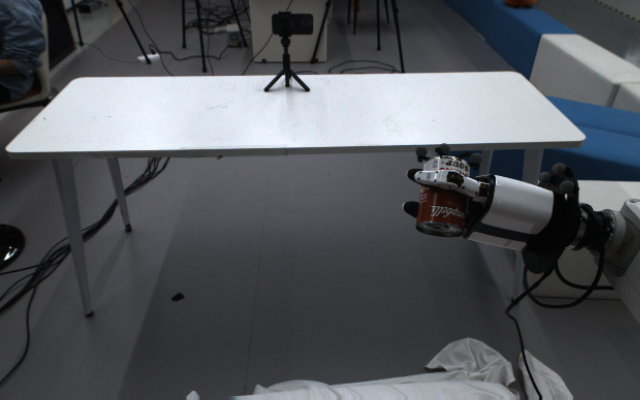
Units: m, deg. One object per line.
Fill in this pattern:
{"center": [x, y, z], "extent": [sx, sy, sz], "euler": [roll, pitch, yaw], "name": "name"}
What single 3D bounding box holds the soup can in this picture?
{"center": [0.178, -0.005, 0.692], "extent": [0.067, 0.067, 0.101], "euler": [8, 72, 9], "name": "soup can"}
